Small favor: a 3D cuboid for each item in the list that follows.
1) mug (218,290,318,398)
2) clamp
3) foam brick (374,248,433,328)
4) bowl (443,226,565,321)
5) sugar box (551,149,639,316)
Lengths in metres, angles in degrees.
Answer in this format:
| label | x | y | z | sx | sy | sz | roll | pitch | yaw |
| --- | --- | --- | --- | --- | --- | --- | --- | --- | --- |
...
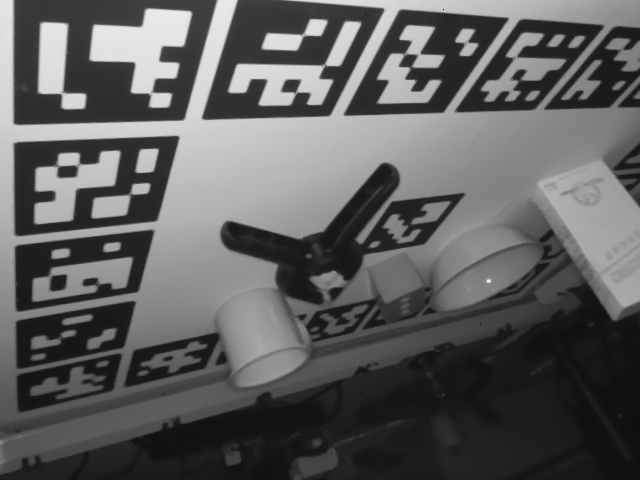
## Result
| label | x | y | z | sx | sy | sz | roll | pitch | yaw |
| --- | --- | --- | --- | --- | --- | --- | --- | --- | --- |
| mug | -0.051 | 0.109 | 0.737 | 0.118 | 0.081 | 0.092 | 18 | 128 | -44 |
| clamp | 0.009 | 0.011 | 0.673 | 0.166 | 0.036 | 0.201 | -23 | 147 | -10 |
| foam brick | 0.098 | 0.057 | 0.813 | 0.053 | 0.051 | 0.078 | -24 | 147 | -6 |
| bowl | 0.213 | 0.033 | 0.846 | 0.163 | 0.055 | 0.160 | -18 | 147 | -11 |
| sugar box | 0.339 | -0.013 | 0.757 | 0.093 | 0.176 | 0.045 | -20 | 146 | -6 |
